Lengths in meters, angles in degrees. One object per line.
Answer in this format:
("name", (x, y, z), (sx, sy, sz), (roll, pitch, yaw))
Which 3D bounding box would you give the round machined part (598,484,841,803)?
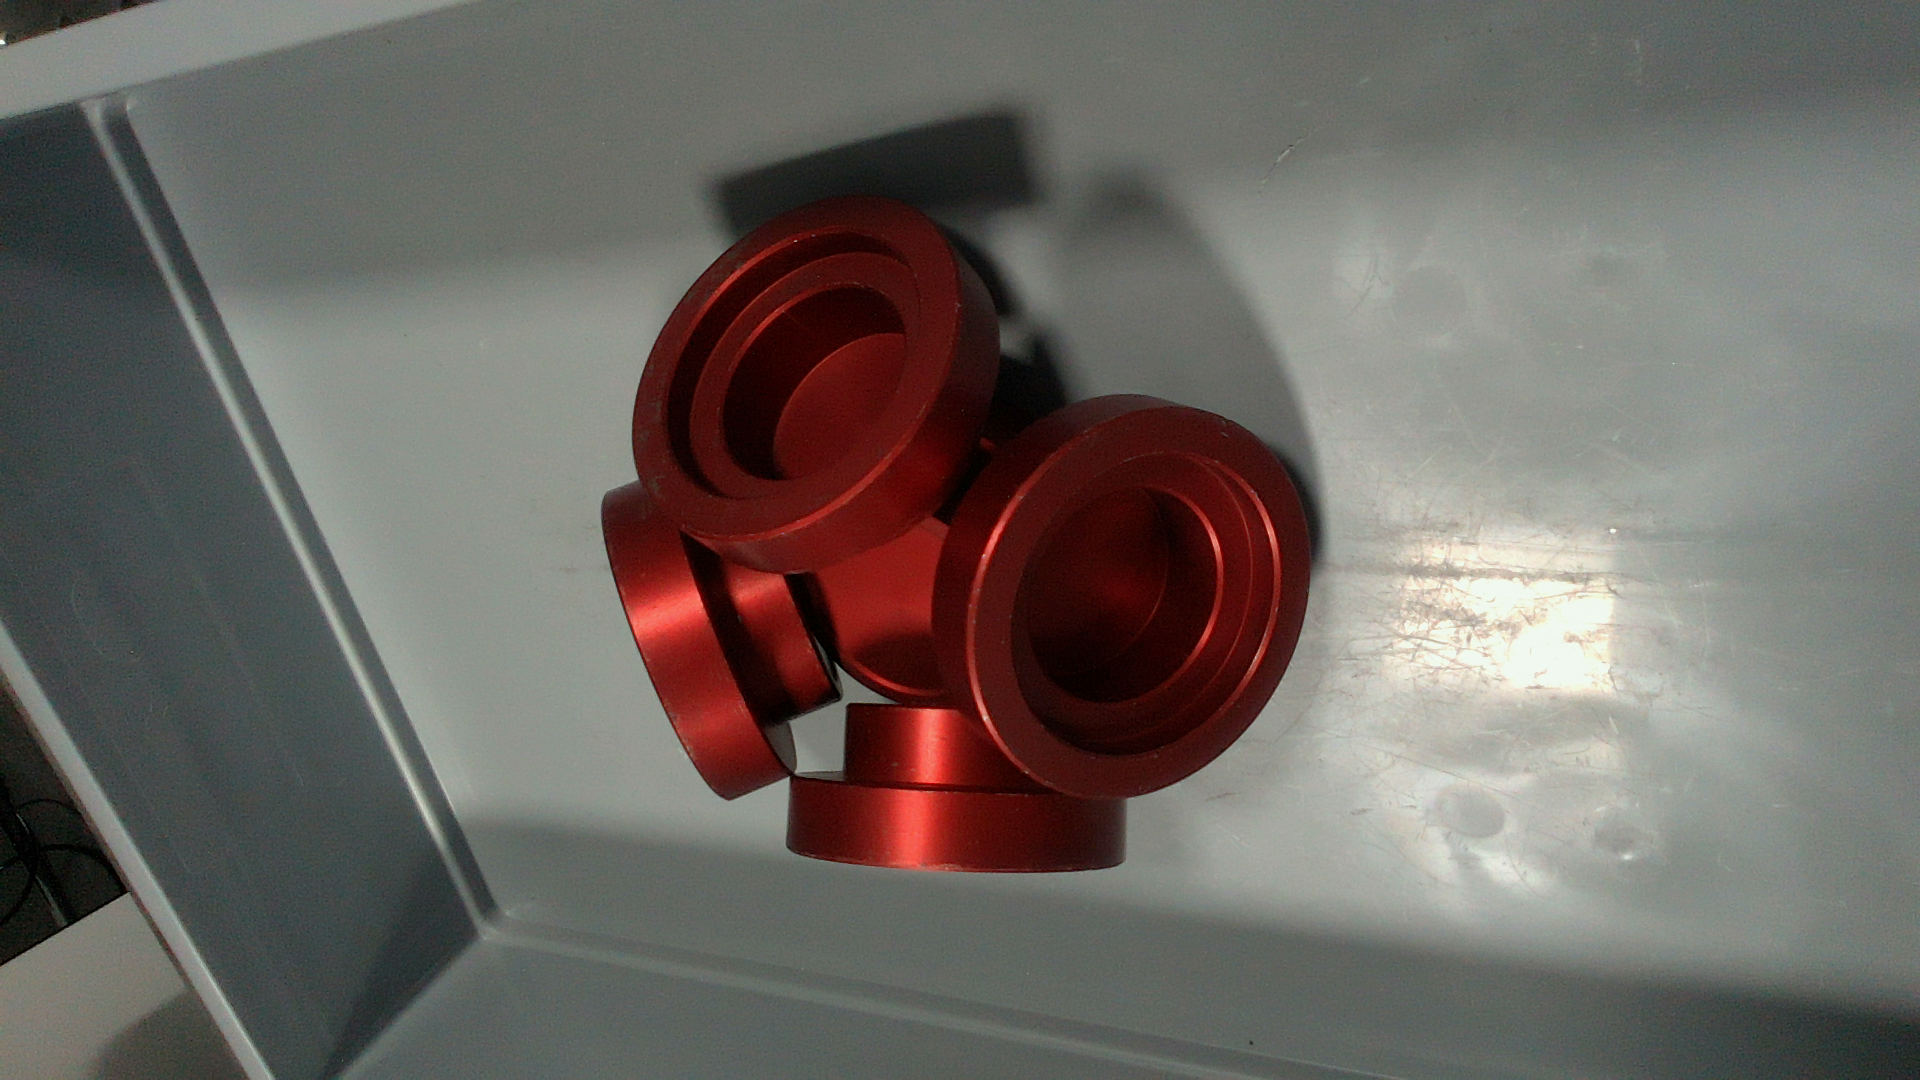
("round machined part", (-0.067, 0.024, 0.407), (0.042, 0.098, 0.098), (-22, 111, -3))

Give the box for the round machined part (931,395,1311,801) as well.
("round machined part", (0.036, 0.012, 0.345), (0.042, 0.098, 0.098), (28, 140, 59))

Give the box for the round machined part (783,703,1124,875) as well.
("round machined part", (-0.001, 0.070, 0.400), (0.098, 0.098, 0.042), (-1, 82, 29))

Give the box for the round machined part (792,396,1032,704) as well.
("round machined part", (-0.008, 0.008, 0.389), (0.098, 0.042, 0.098), (13, 124, 21))

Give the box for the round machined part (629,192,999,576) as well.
("round machined part", (-0.033, -0.036, 0.352), (0.098, 0.098, 0.042), (-4, 154, 30))
